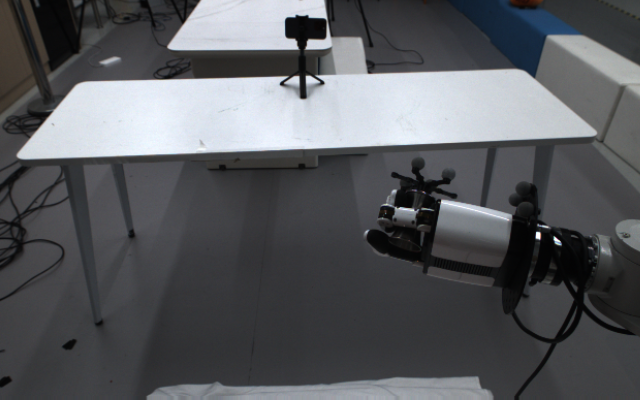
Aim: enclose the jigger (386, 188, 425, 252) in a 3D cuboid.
[{"bbox_3d":[0.117,0.023,0.613,0.043,0.043,0.071,16,70,19],"label":"jigger"}]
